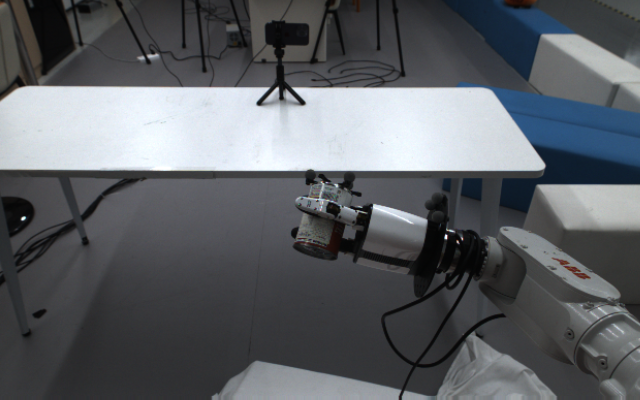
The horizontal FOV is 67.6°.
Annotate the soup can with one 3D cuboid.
[{"bbox_3d":[0.007,0.032,0.724,0.067,0.067,0.101,11,72,13],"label":"soup can"}]
